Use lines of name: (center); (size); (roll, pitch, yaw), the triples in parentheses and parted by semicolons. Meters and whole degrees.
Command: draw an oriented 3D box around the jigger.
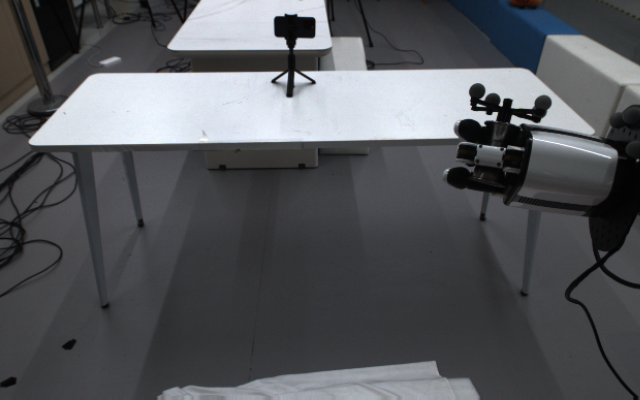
jigger: (0.202, -0.052, 0.556); (0.043, 0.071, 0.043); (14, 1, 0)
